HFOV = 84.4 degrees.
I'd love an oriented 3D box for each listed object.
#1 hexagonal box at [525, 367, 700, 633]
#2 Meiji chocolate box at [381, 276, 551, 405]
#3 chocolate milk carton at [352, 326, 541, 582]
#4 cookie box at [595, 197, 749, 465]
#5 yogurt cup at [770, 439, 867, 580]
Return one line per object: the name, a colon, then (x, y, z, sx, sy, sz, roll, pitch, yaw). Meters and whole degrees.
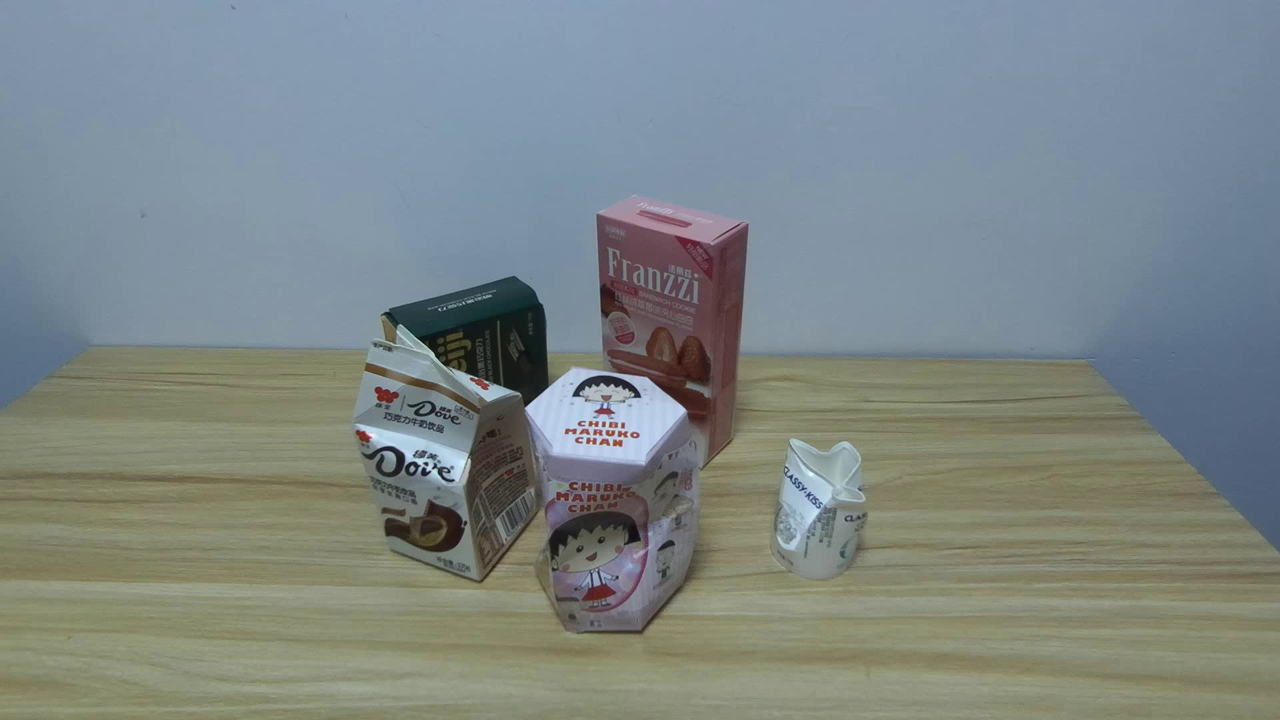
hexagonal box: (-0.022, 0.082, 0.404, 0.089, 0.135, 0.093, -18, 36, -28)
Meiji chocolate box: (-0.133, 0.003, 0.557, 0.123, 0.116, 0.058, -17, 36, -26)
chocolate milk carton: (-0.119, 0.051, 0.437, 0.076, 0.156, 0.074, 14, 36, 19)
cookie box: (0.022, -0.017, 0.519, 0.096, 0.185, 0.048, 20, 38, 30)
yogurt cup: (0.115, 0.094, 0.443, 0.055, 0.072, 0.055, 6, 33, 8)
